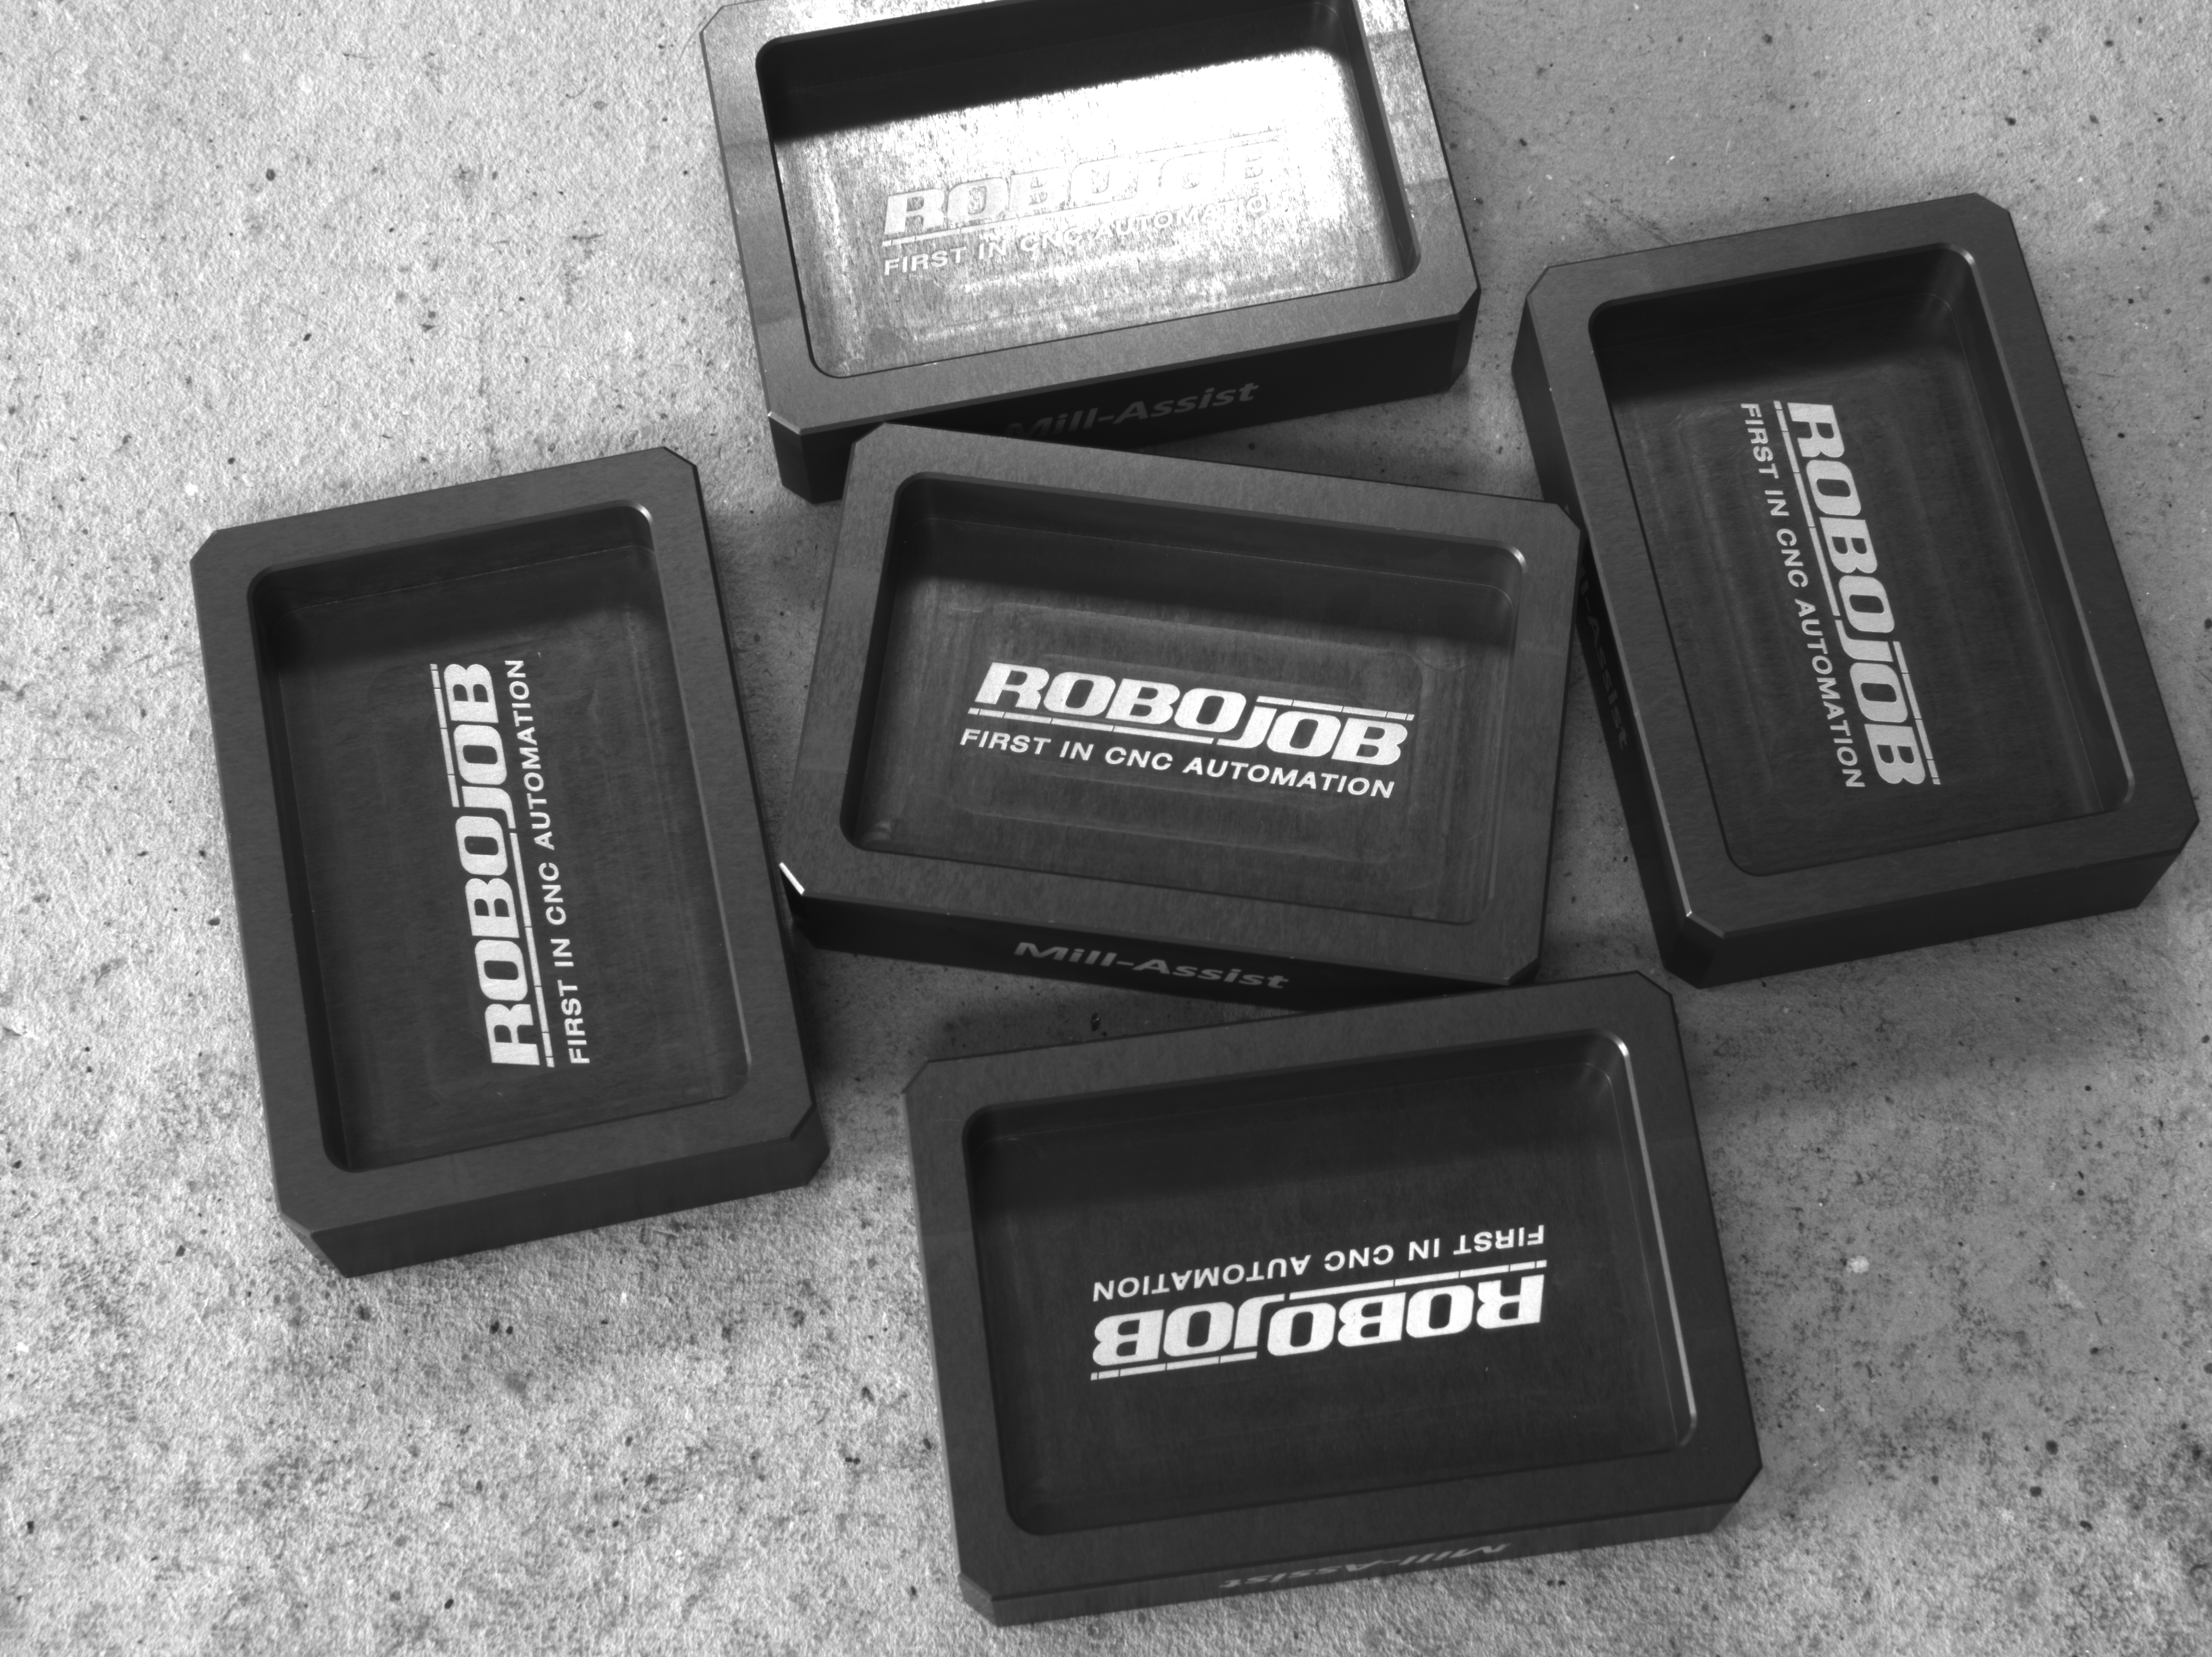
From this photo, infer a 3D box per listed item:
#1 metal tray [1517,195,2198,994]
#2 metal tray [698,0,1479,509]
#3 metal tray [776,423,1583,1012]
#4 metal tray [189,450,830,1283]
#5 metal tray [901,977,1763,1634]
[{"bbox_3d":[0.131,-0.043,0.659,0.090,0.030,0.130,-10,71,-3],"label":"metal tray"},{"bbox_3d":[-0.004,-0.116,0.686,0.130,0.030,0.090,-10,70,-3],"label":"metal tray"},{"bbox_3d":[0.014,-0.018,0.649,0.130,0.030,0.090,7,72,3],"label":"metal tray"},{"bbox_3d":[-0.104,0.005,0.641,0.090,0.030,0.130,-11,70,-4],"label":"metal tray"},{"bbox_3d":[0.036,0.079,0.613,0.130,0.030,0.090,-7,70,-2],"label":"metal tray"}]
